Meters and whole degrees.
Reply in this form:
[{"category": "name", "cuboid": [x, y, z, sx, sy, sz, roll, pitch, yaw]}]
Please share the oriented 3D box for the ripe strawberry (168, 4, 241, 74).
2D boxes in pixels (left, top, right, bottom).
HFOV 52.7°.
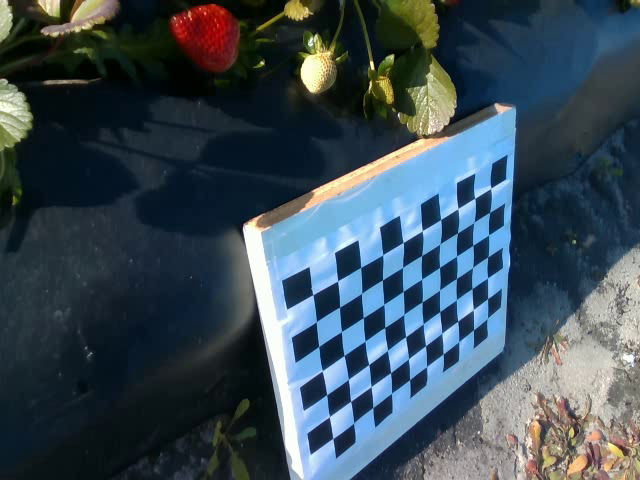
[{"category": "ripe strawberry", "cuboid": [-0.065, -0.113, 0.348, 0.036, 0.043, 0.054, 23, 14, 35]}]
